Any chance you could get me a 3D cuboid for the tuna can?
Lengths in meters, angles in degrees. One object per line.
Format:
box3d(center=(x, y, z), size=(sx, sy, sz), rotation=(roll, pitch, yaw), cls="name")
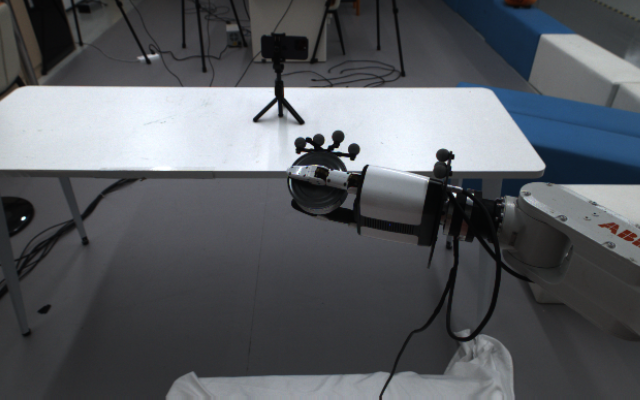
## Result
box3d(center=(-0.001, -0.025, 0.684), size=(0.085, 0.034, 0.085), rotation=(-3, 69, 7), cls="tuna can")
